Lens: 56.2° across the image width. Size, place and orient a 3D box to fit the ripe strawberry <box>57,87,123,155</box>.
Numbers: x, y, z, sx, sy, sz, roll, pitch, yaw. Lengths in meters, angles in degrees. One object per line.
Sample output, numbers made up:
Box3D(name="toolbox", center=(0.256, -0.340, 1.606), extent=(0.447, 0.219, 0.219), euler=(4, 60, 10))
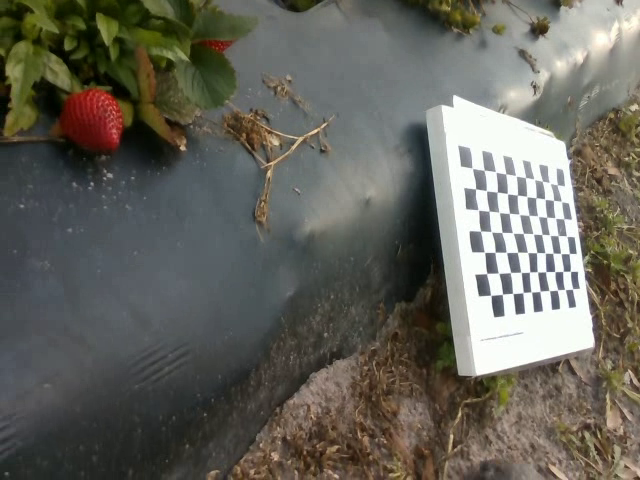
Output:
Box3D(name="ripe strawberry", center=(-0.149, -0.075, 0.394), extent=(0.043, 0.051, 0.043), euler=(-21, -24, -44))
